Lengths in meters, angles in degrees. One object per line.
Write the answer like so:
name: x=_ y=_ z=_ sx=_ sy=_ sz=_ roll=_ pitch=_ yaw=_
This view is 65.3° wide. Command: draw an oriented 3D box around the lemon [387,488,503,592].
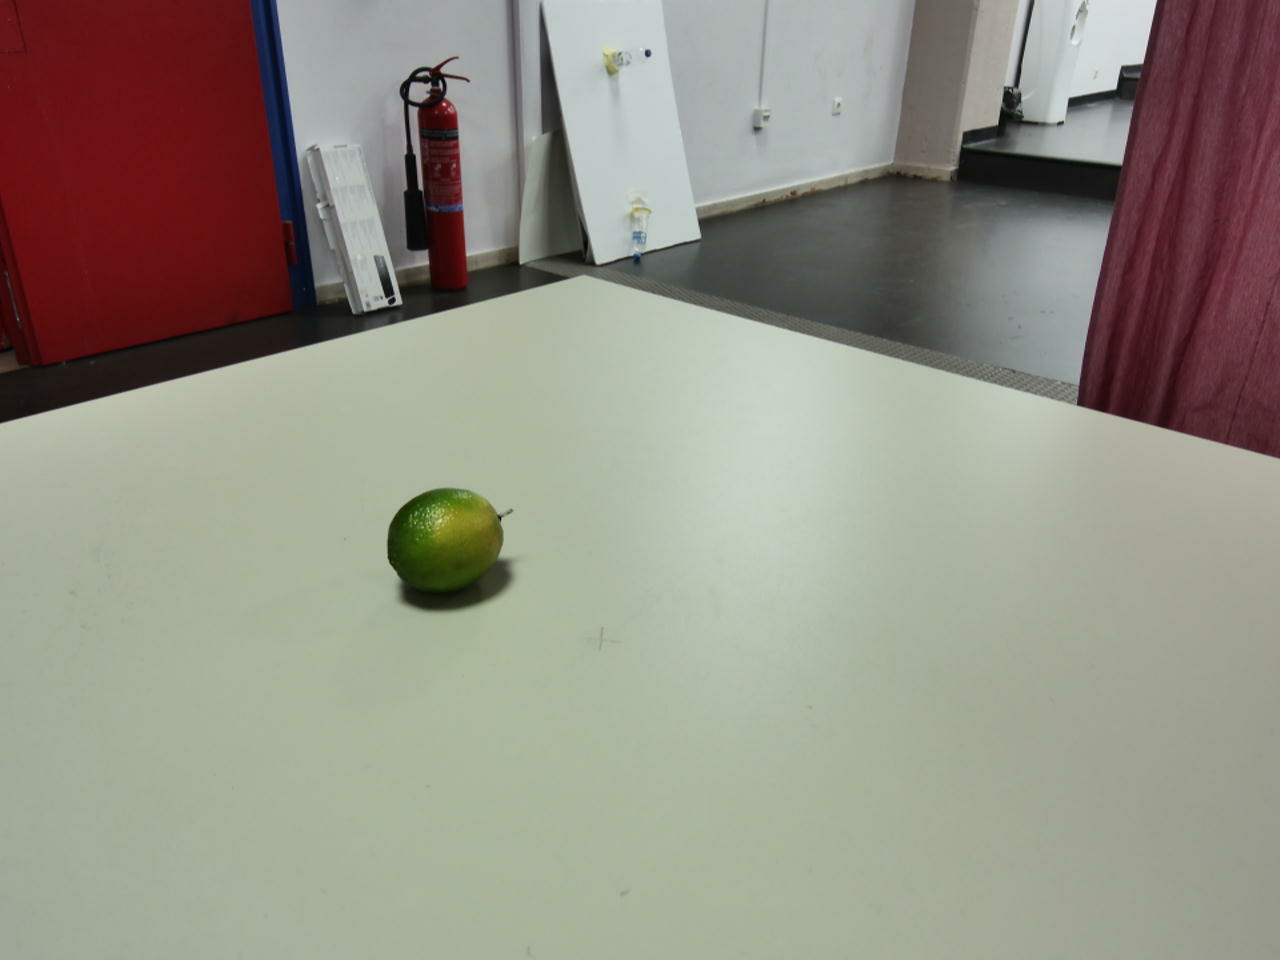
lemon: x=-0.096 y=0.029 z=0.493 sx=0.055 sy=0.050 sz=0.054 roll=2 pitch=24 yaw=1
